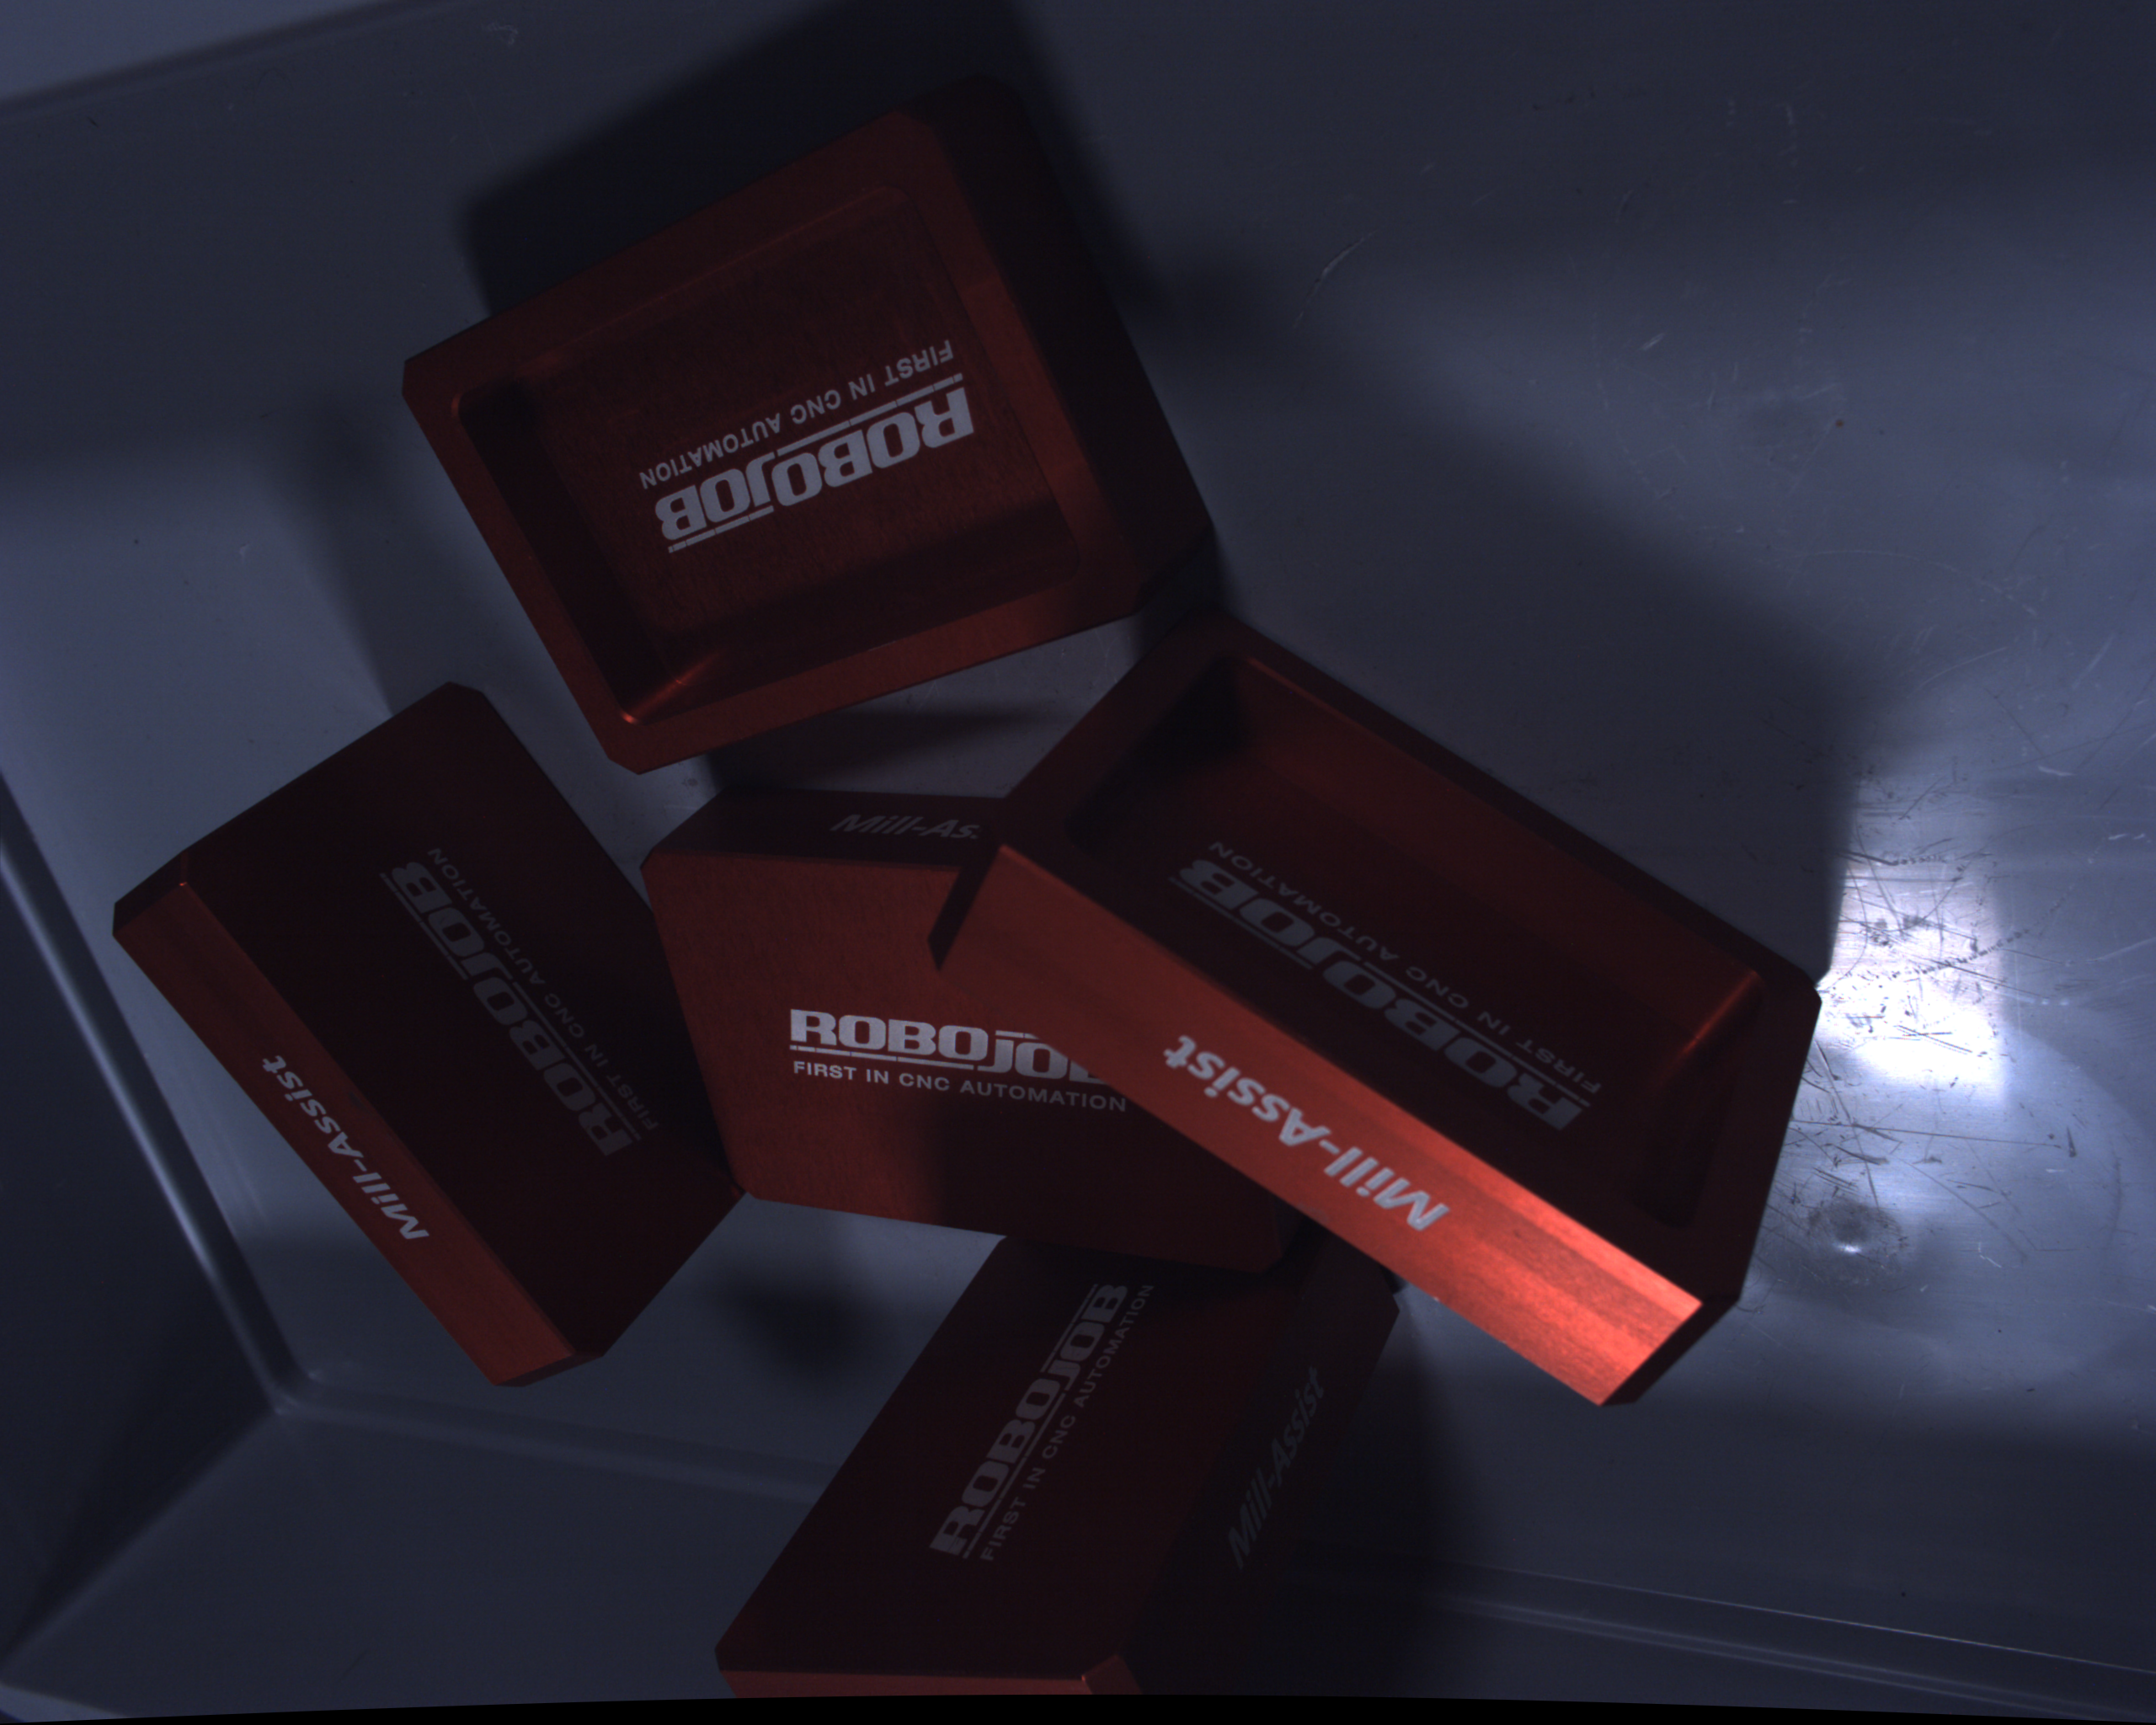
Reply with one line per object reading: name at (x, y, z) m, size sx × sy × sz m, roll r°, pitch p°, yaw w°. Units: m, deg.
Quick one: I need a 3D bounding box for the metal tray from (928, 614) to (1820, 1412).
metal tray at (0.053, 0.019, 0.347) m, size 0.130 × 0.090 × 0.030 m, roll 33°, pitch 129°, yaw 6°

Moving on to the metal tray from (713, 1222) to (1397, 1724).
metal tray at (0.000, 0.121, 0.410) m, size 0.090 × 0.131 × 0.030 m, roll -13°, pitch 112°, yaw 32°

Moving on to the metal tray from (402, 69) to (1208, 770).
metal tray at (-0.052, -0.075, 0.383) m, size 0.130 × 0.030 × 0.090 m, roll -14°, pitch 112°, yaw 33°

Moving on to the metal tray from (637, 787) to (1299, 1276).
metal tray at (-0.020, 0.033, 0.431) m, size 0.130 × 0.030 × 0.089 m, roll 3°, pitch 120°, yaw 26°

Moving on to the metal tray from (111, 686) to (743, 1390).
metal tray at (-0.129, 0.036, 0.452) m, size 0.030 × 0.090 × 0.130 m, roll -27°, pitch 104°, yaw 36°
